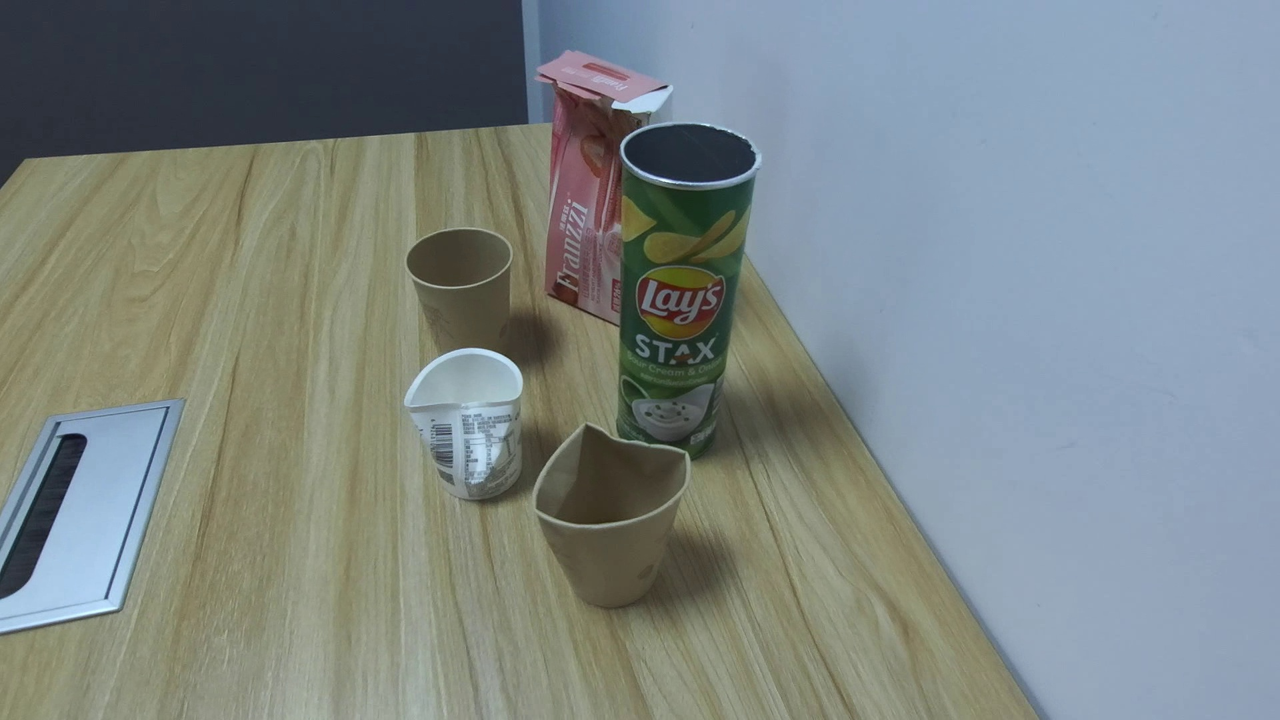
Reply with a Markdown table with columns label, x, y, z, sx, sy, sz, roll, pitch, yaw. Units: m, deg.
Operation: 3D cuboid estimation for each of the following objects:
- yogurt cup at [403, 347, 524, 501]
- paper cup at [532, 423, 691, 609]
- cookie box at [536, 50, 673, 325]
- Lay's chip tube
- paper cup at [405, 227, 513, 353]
| label | x | y | z | sx | sy | sz | roll | pitch | yaw |
| --- | --- | --- | --- | --- | --- | --- | --- | --- | --- |
| yogurt cup | -0.101 | 0.042 | 0.432 | 0.067 | 0.070 | 0.067 | -1 | 41 | 1 |
| paper cup | -0.014 | 0.087 | 0.368 | 0.071 | 0.084 | 0.066 | 14 | 44 | 13 |
| cookie box | -0.027 | -0.118 | 0.523 | 0.118 | 0.184 | 0.055 | 31 | 49 | 29 |
| Lay's chip tube | 0.022 | -0.029 | 0.409 | 0.071 | 0.203 | 0.071 | 1 | 43 | -1 |
| paper cup | -0.125 | -0.039 | 0.509 | 0.075 | 0.082 | 0.075 | 1 | 39 | -1 |
